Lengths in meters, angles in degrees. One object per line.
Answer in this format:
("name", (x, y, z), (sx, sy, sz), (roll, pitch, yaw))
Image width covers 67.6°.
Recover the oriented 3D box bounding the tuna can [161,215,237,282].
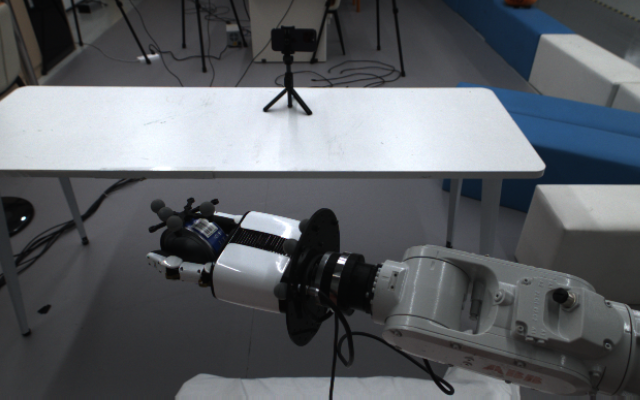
("tuna can", (-0.150, 0.061, 0.599), (0.085, 0.085, 0.034), (17, 36, 20))
